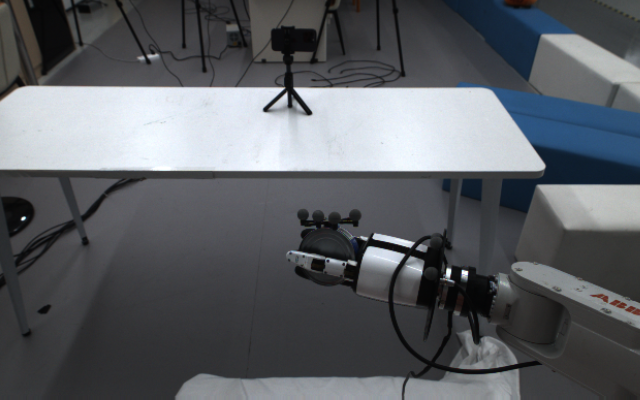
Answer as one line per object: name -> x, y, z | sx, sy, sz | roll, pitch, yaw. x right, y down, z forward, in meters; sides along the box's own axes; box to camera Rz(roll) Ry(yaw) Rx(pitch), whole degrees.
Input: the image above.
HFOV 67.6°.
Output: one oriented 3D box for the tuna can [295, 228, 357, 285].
tuna can -> 0.015, 0.079, 0.704 | 0.085, 0.085, 0.034 | 15, 10, 18
